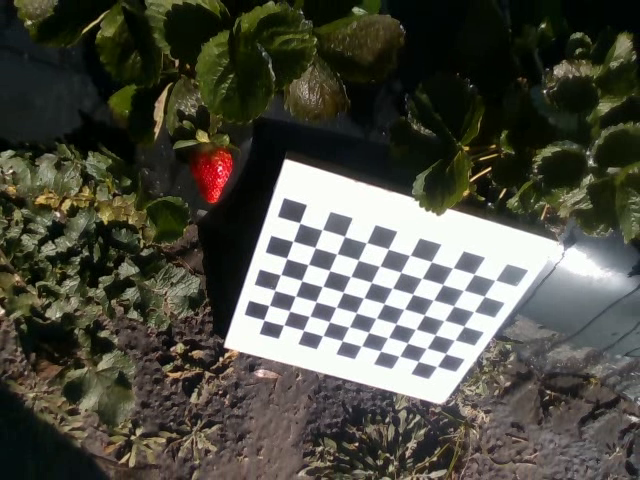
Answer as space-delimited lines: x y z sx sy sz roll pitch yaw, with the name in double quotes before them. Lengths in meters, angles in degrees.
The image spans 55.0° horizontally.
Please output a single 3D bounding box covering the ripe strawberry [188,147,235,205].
"ripe strawberry" -0.105 -0.064 0.581 0.048 0.069 0.040 2 30 4
